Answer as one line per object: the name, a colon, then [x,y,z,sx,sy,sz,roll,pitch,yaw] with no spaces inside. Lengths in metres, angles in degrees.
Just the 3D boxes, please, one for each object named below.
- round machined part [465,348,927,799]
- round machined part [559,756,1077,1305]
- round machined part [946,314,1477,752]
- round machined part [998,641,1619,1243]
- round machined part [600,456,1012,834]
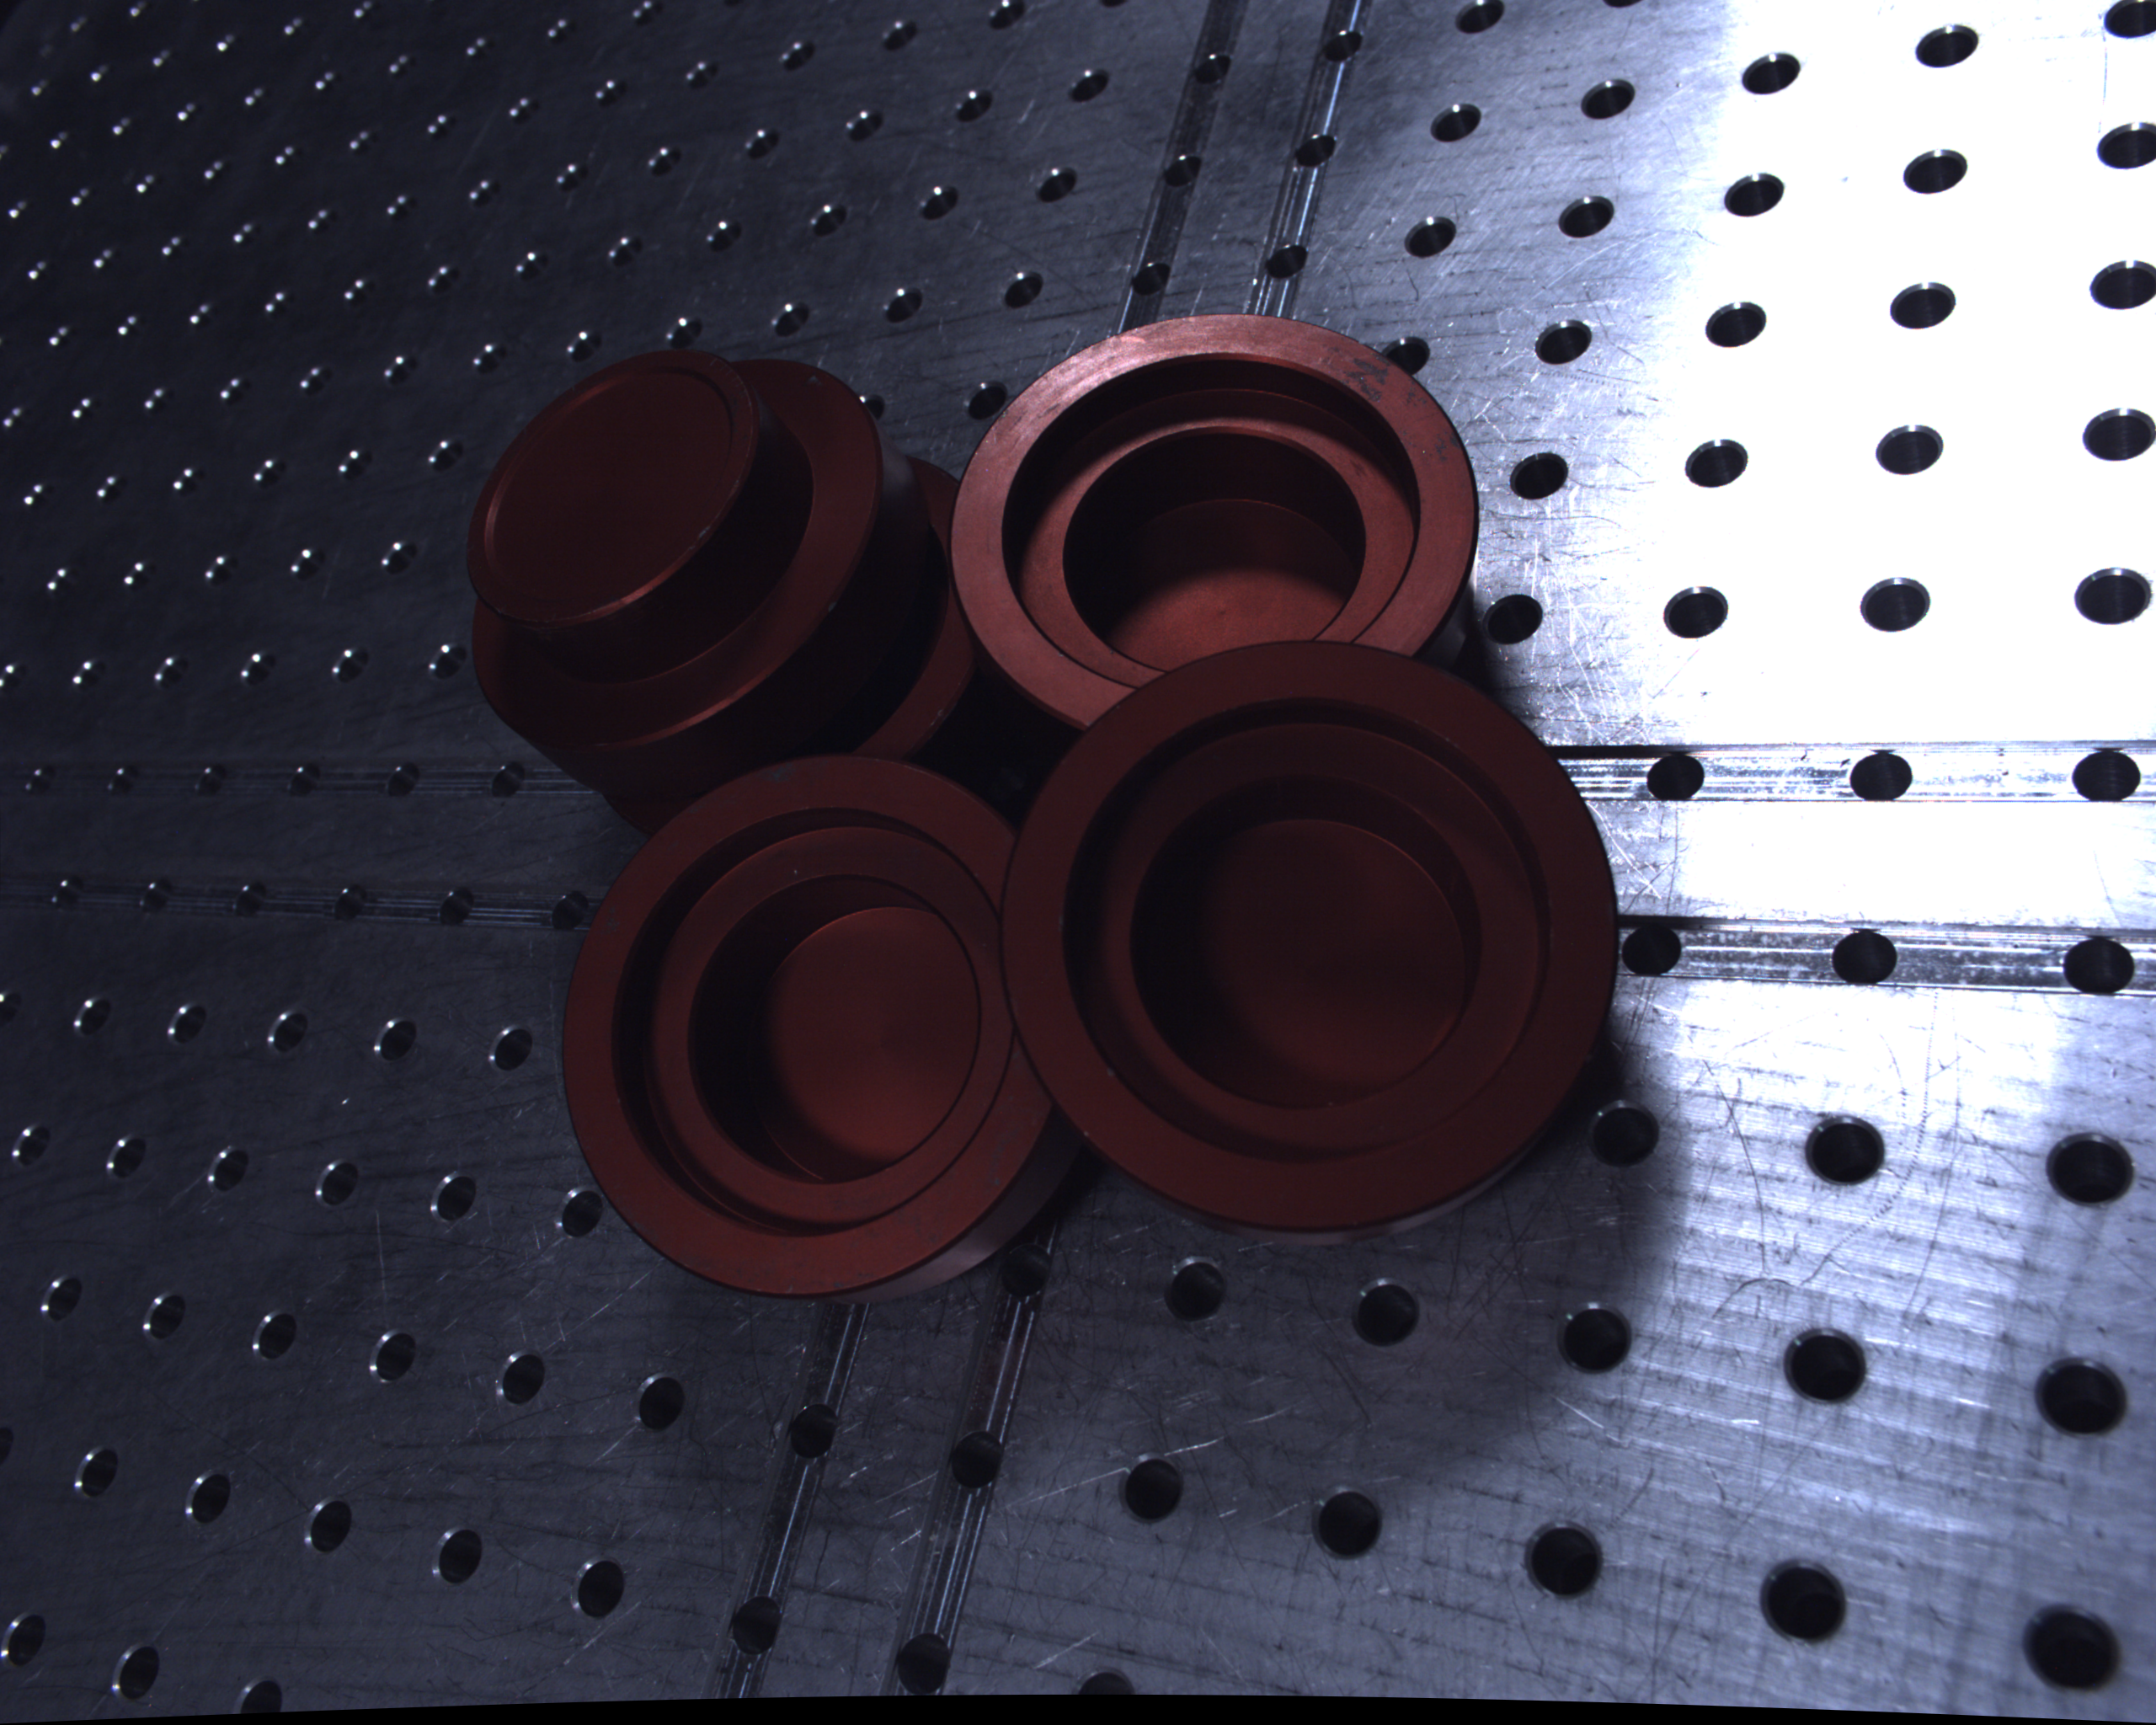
round machined part: [-0.084,-0.065,0.425,0.098,0.042,0.098,-13,56,20]
round machined part: [-0.042,0.033,0.386,0.098,0.042,0.098,-4,75,16]
round machined part: [0.027,-0.055,0.404,0.099,0.042,0.098,-4,63,8]
round machined part: [0.038,0.015,0.352,0.099,0.042,0.098,-2,74,6]
round machined part: [-0.052,-0.036,0.445,0.098,0.042,0.098,-13,56,20]
